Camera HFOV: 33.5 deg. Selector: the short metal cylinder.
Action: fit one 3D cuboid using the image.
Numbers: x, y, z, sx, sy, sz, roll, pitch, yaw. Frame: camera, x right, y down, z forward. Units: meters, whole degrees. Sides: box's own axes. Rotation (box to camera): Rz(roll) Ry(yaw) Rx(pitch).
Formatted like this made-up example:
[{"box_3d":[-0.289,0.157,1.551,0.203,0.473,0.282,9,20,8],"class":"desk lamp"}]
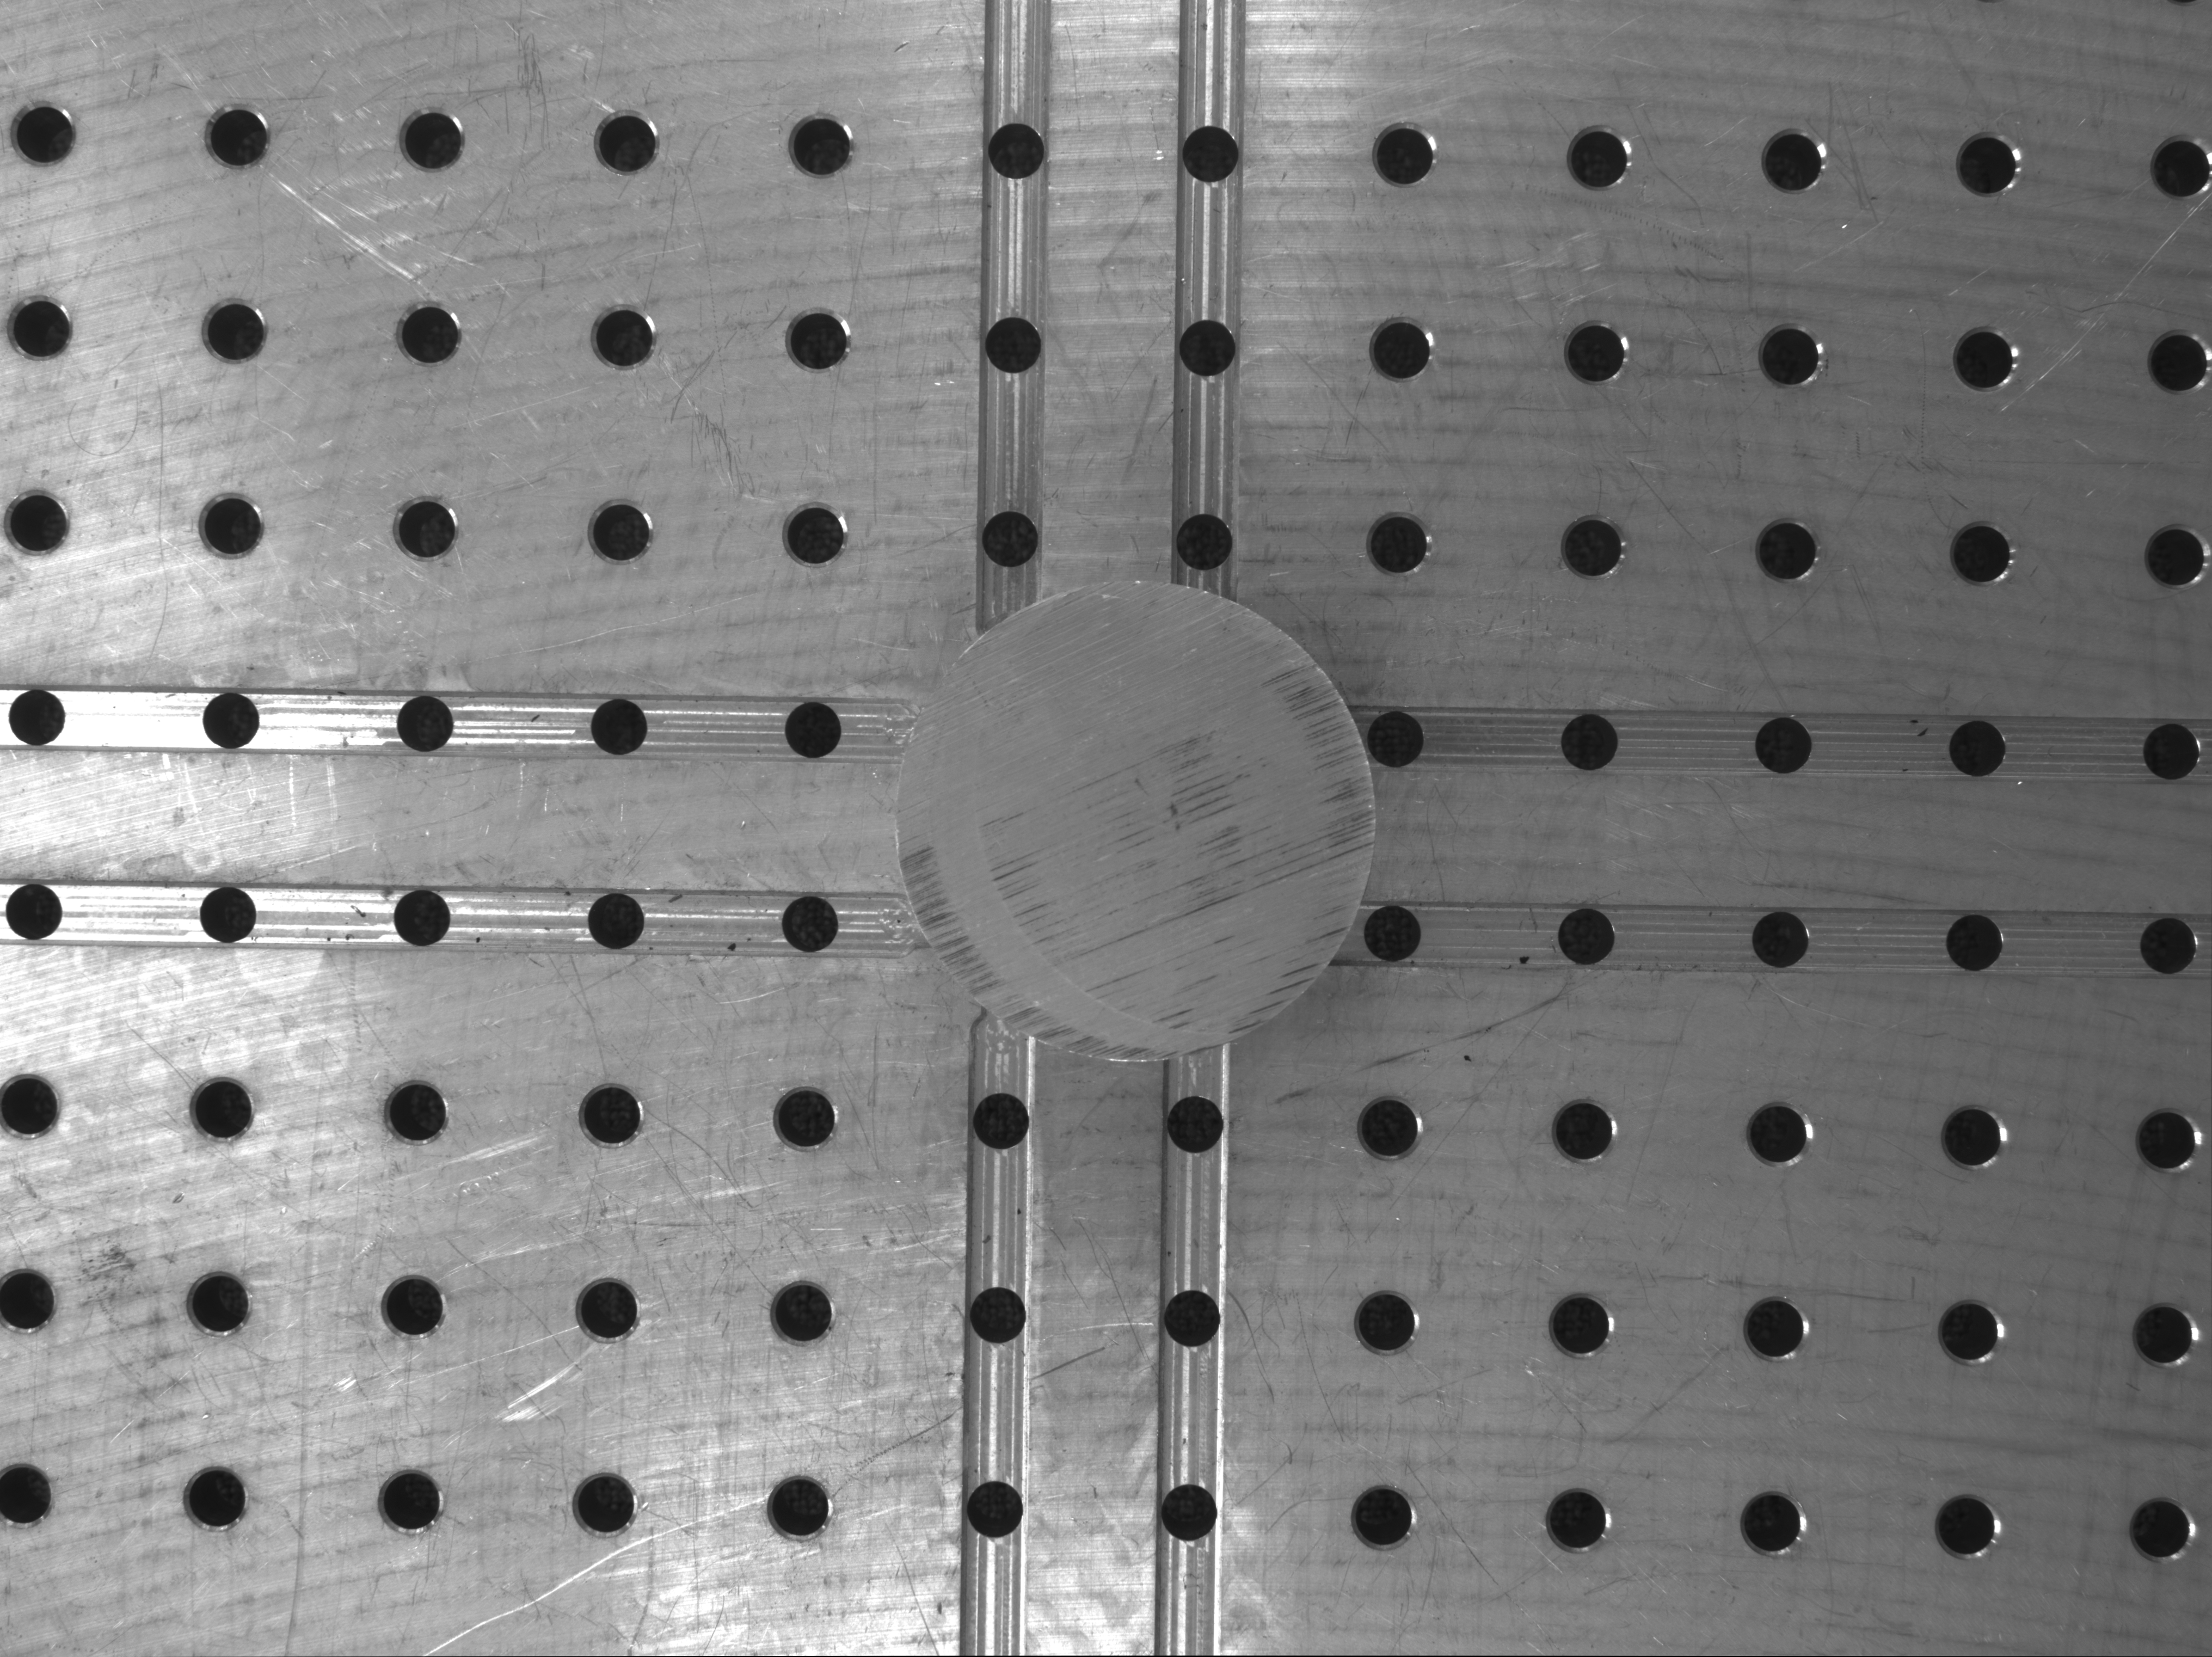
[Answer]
[{"box_3d":[0.005,-0.001,0.636,0.080,0.050,0.080,0,90,0],"class":"short metal cylinder"}]
